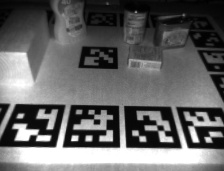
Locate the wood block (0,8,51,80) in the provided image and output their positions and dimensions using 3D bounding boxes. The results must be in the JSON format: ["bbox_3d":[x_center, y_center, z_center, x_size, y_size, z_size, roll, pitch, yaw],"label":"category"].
[{"bbox_3d":[-0.226,-0.114,0.546,0.091,0.090,0.205,3,41,-2],"label":"wood block"}]

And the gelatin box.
[{"bbox_3d":[0.086,-0.088,0.578,0.089,0.030,0.073,7,47,7],"label":"gelatin box"}]

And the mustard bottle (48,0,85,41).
[{"bbox_3d":[-0.128,-0.219,0.593,0.097,0.192,0.058,-18,48,-21],"label":"mustard bottle"}]

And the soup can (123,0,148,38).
[{"bbox_3d":[0.066,-0.199,0.630,0.068,0.102,0.067,1,47,0],"label":"soup can"}]

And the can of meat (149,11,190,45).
[{"bbox_3d":[0.163,-0.169,0.632,0.102,0.084,0.057,-8,47,-14],"label":"can of meat"}]
